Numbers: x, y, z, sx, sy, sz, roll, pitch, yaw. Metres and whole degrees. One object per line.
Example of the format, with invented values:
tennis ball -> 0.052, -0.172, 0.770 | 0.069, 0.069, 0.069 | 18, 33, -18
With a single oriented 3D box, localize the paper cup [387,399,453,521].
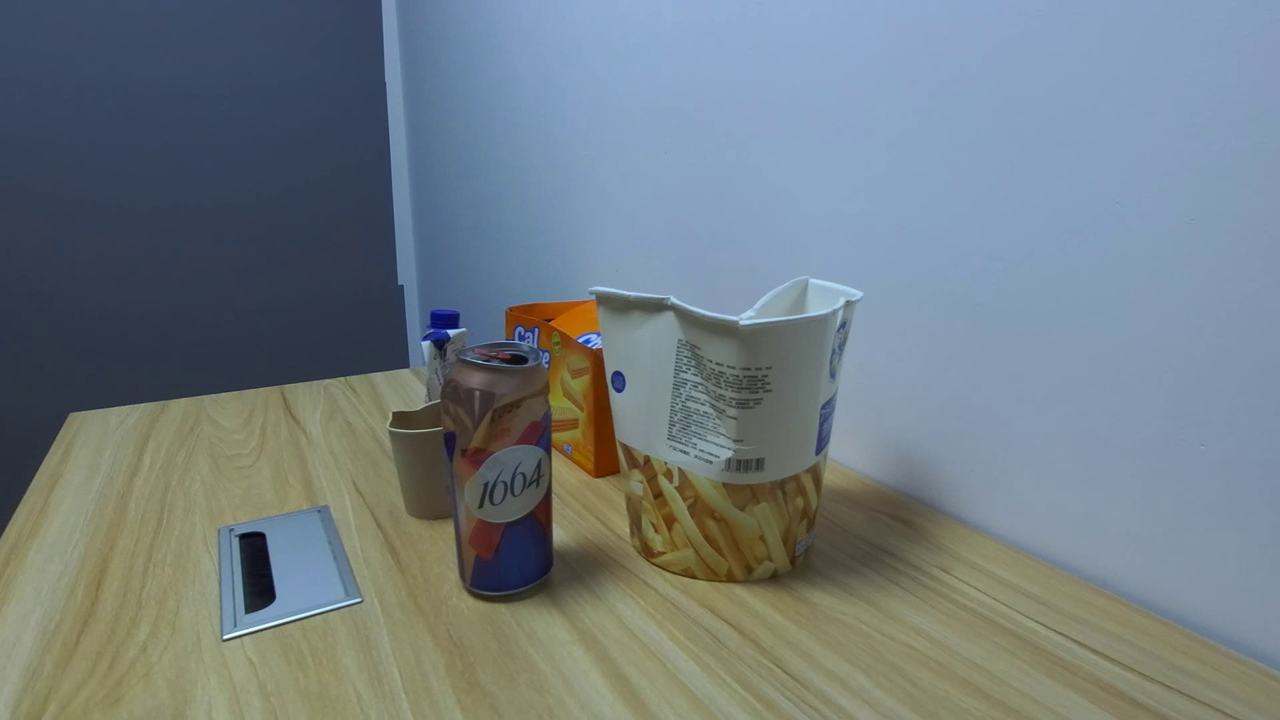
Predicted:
paper cup -> -0.174, 0.087, 0.594 | 0.073, 0.081, 0.069 | 1, 15, 17

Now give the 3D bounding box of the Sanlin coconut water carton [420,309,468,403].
Sanlin coconut water carton -> -0.201, 0.022, 0.720 | 0.056, 0.145, 0.068 | 3, 25, 32

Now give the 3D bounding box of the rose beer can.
rose beer can -> -0.093, 0.075, 0.480 | 0.076, 0.167, 0.065 | -10, 20, -40

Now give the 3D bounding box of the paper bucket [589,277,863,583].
paper bucket -> 0.073, 0.041, 0.541 | 0.163, 0.202, 0.168 | -11, 22, -38

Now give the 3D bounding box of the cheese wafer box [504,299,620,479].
cheese wafer box -> -0.045, 0.016, 0.775 | 0.153, 0.132, 0.229 | -11, 20, -32
